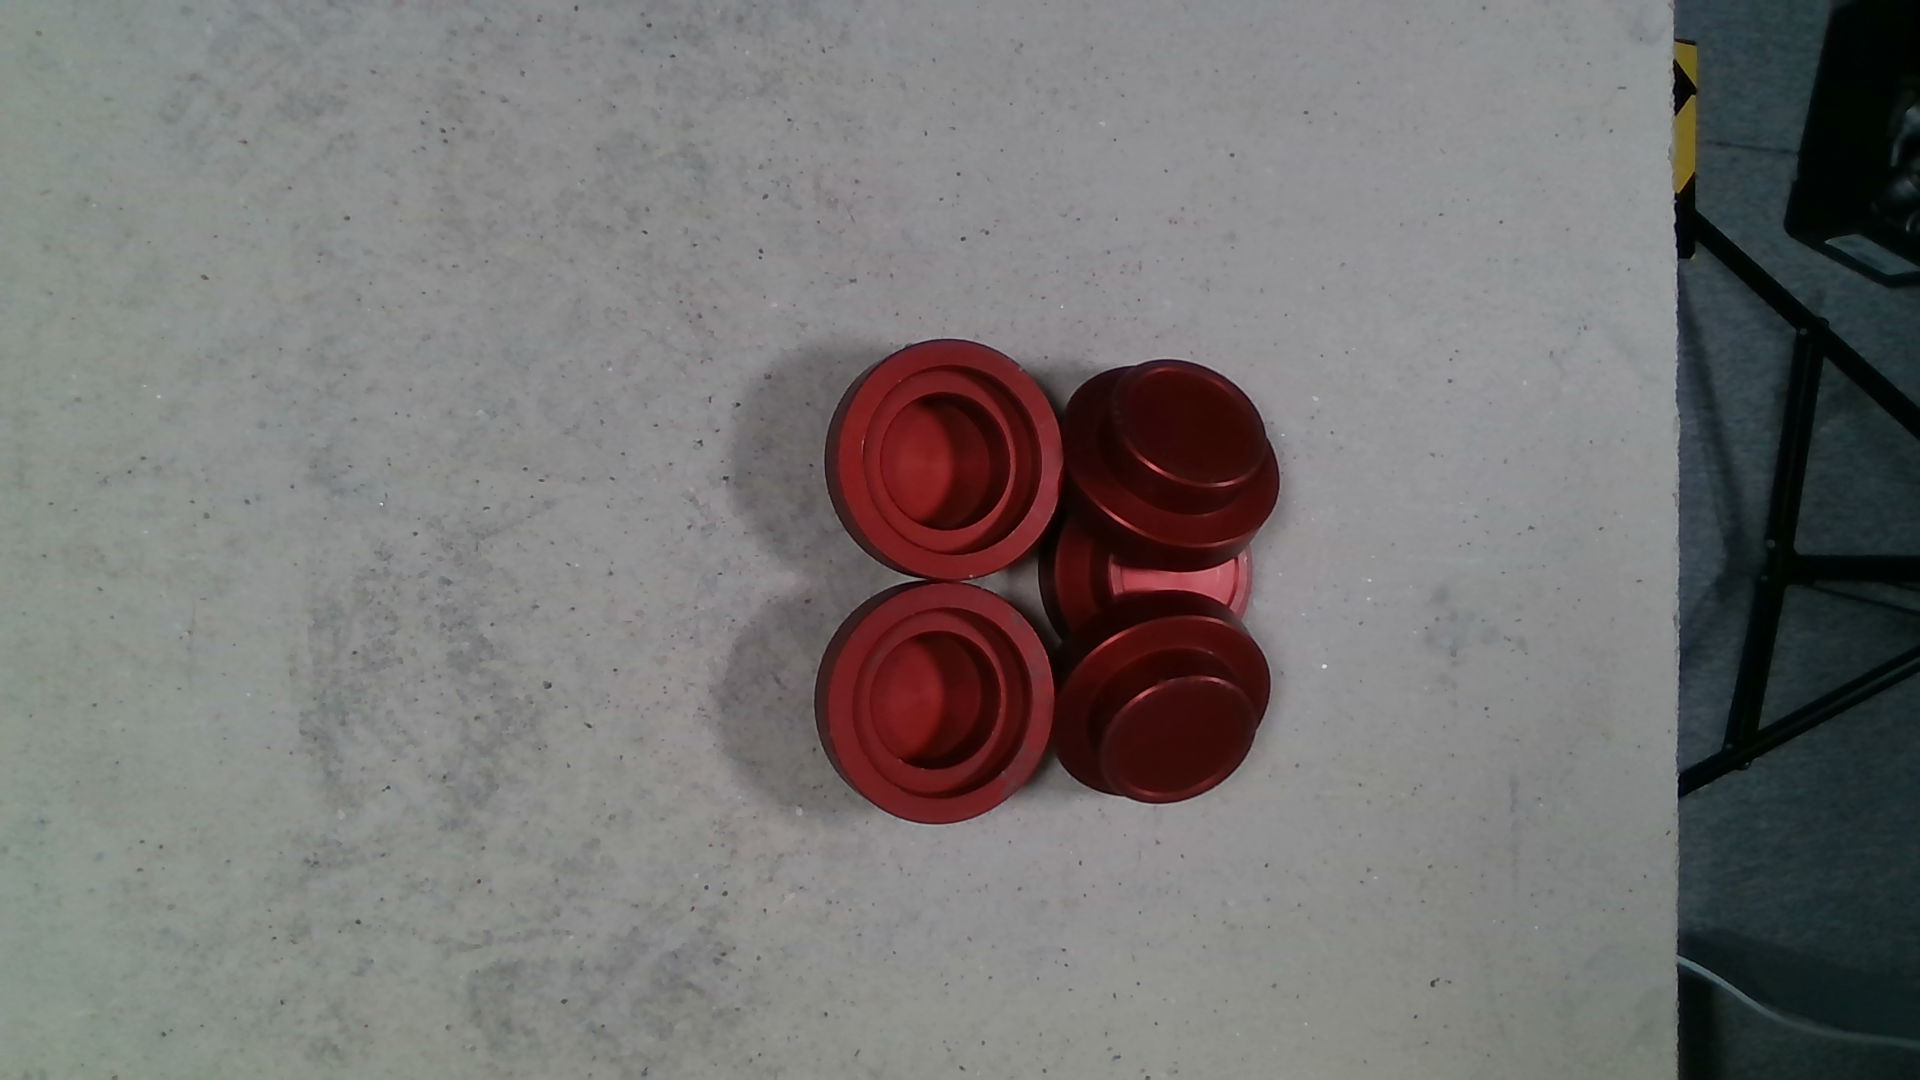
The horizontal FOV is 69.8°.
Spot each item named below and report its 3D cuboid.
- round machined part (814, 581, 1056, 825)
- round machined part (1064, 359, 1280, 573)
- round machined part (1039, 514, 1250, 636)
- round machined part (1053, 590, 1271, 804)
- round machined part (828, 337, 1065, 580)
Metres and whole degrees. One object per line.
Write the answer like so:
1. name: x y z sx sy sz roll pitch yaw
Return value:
1. round machined part: -0.013 0.066 0.572 0.098 0.042 0.098 0 90 -20
2. round machined part: 0.091 -0.038 0.585 0.098 0.042 0.098 8 55 -11
3. round machined part: 0.088 0.013 0.609 0.098 0.042 0.098 0 90 -20
4. round machined part: 0.087 0.073 0.586 0.098 0.042 0.098 -7 123 -10
5. round machined part: -0.009 -0.033 0.573 0.098 0.042 0.098 0 90 -20
